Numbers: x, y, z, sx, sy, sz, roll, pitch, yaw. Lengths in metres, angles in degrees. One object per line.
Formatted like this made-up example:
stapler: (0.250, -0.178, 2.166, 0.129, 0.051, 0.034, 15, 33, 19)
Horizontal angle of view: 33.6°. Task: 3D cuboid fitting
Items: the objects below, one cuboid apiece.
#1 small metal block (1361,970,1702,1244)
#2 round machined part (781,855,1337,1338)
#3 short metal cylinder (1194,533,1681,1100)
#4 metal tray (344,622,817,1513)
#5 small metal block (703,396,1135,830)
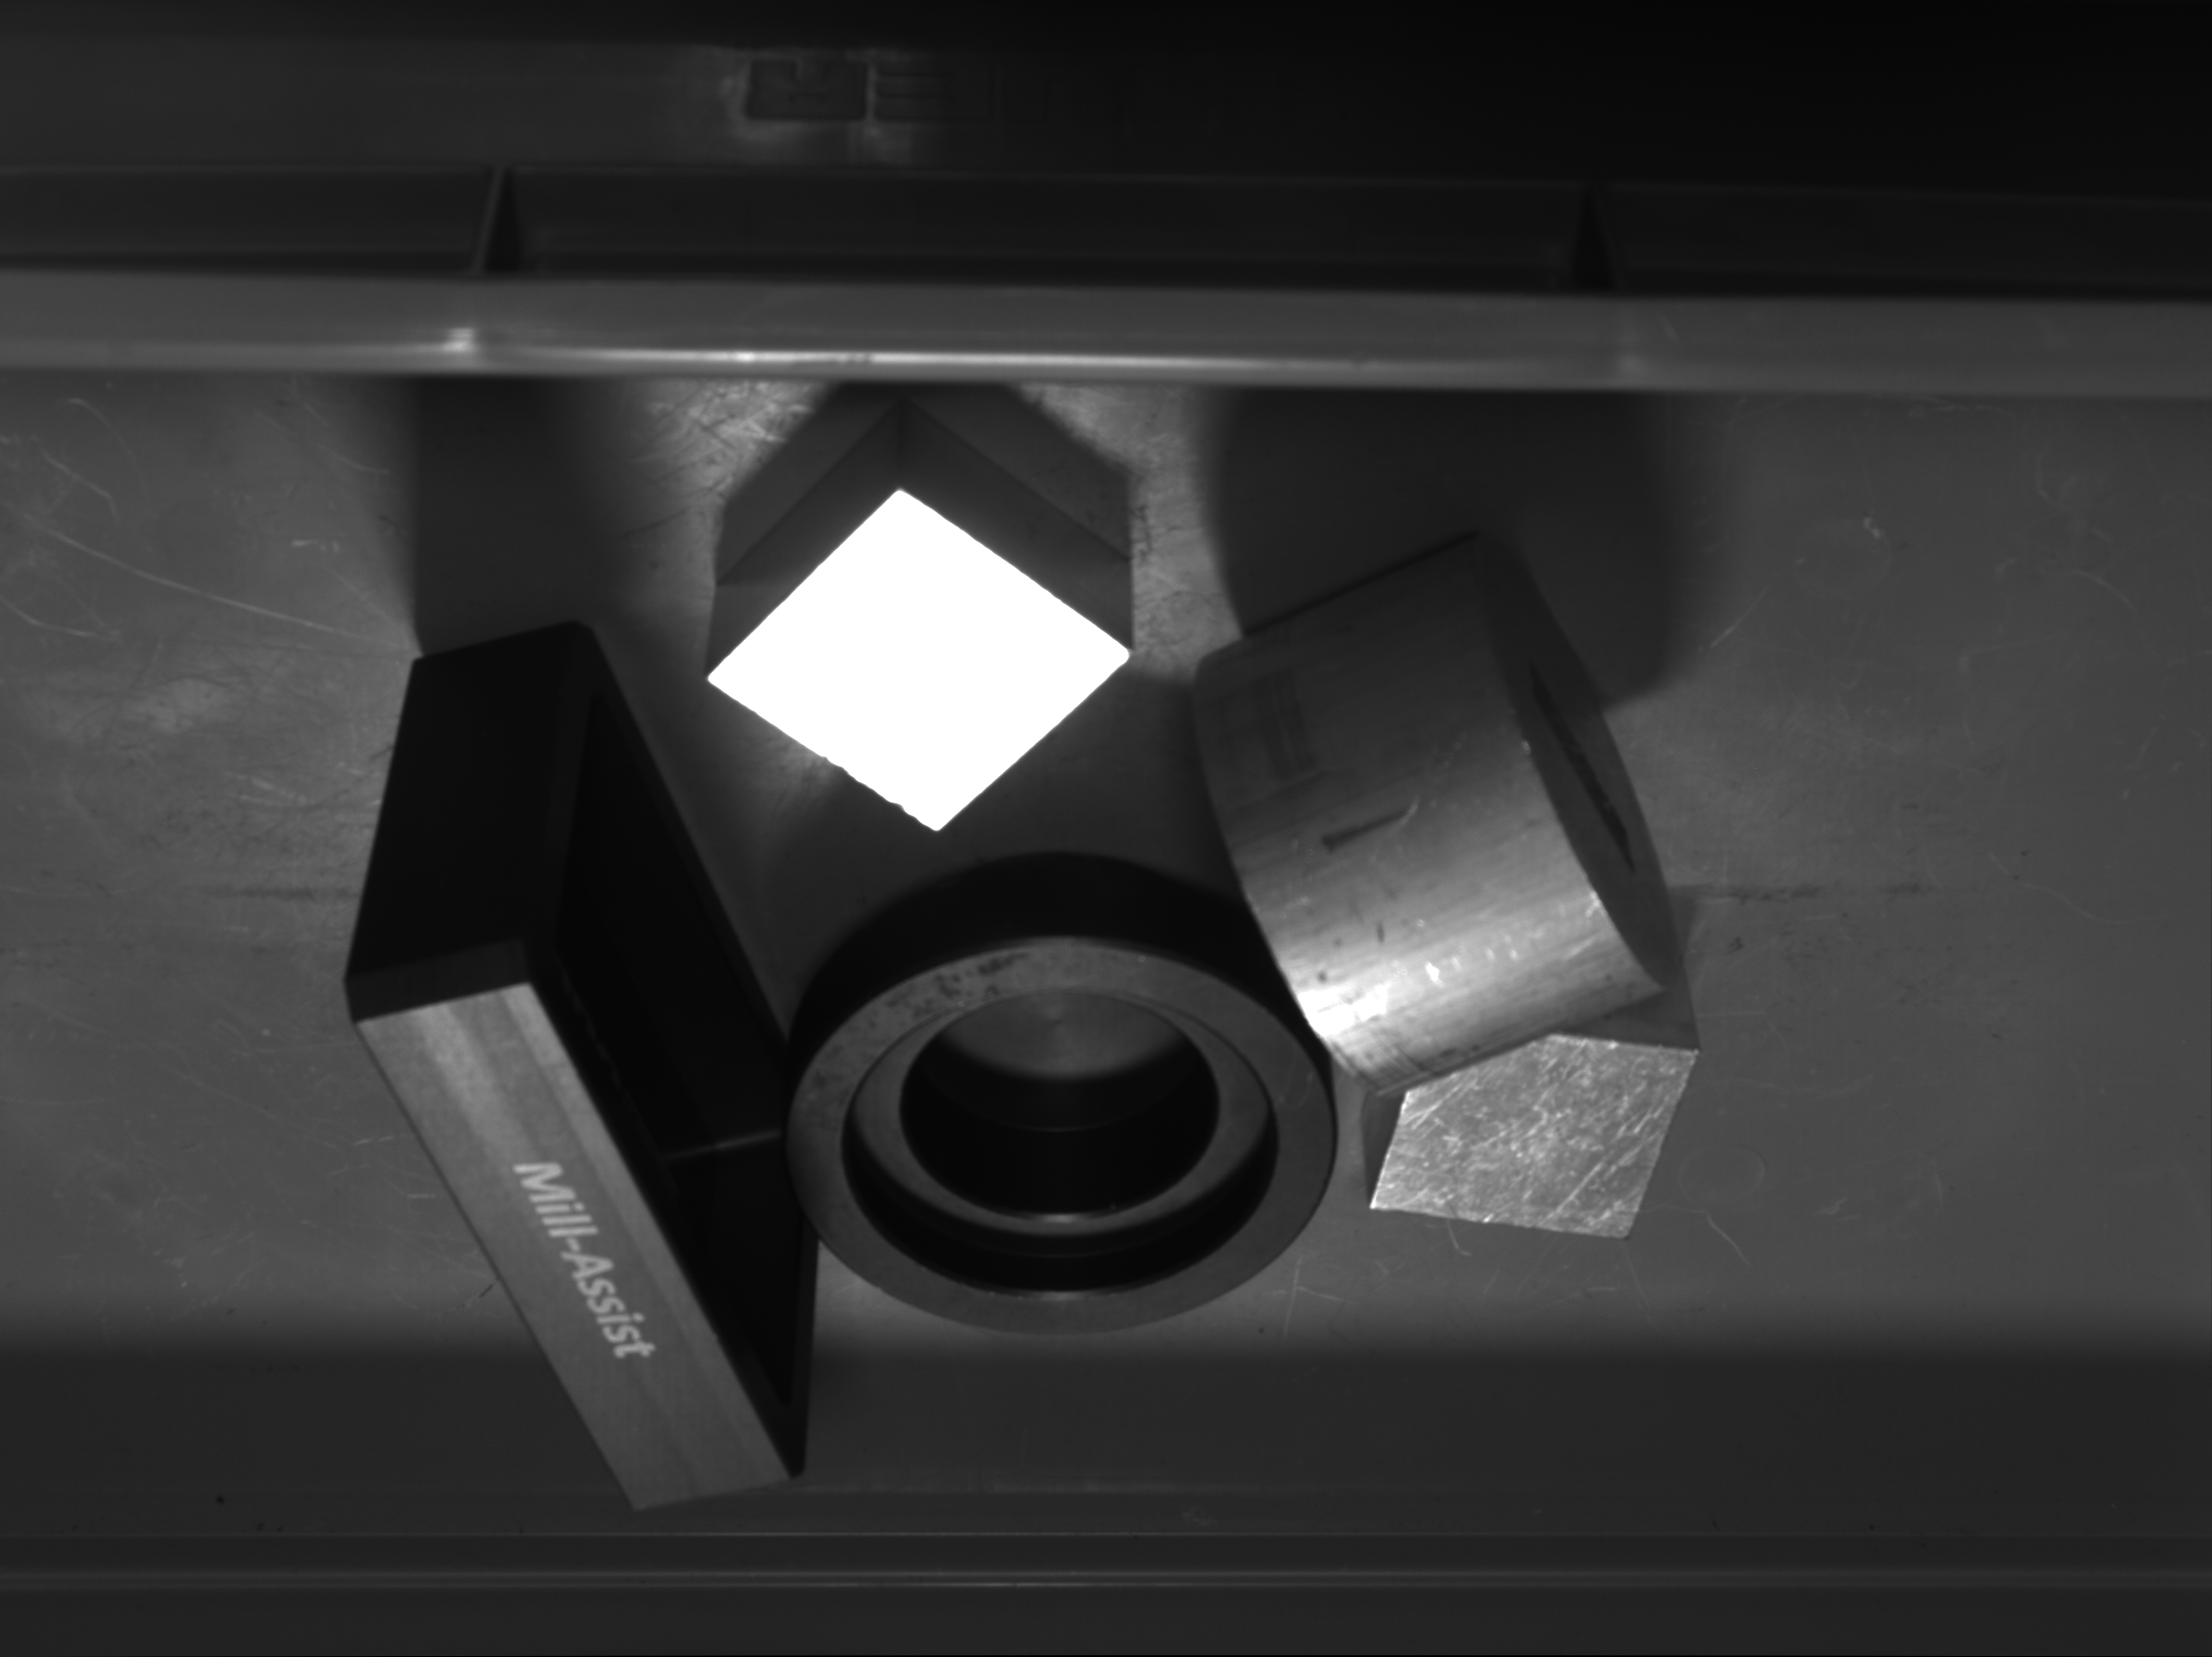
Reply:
small metal block: (0.078, 0.048, 0.679, 0.050, 0.025, 0.050, 8, 129, -7)
round machined part: (-0.009, 0.044, 0.660, 0.098, 0.042, 0.098, -1, 130, -1)
short metal cylinder: (0.055, -0.002, 0.601, 0.050, 0.080, 0.080, -23, 127, 17)
metal tray: (-0.085, 0.042, 0.626, 0.030, 0.090, 0.130, -13, 129, 9)
small metal block: (-0.030, -0.035, 0.606, 0.050, 0.025, 0.050, 34, 122, -25)
